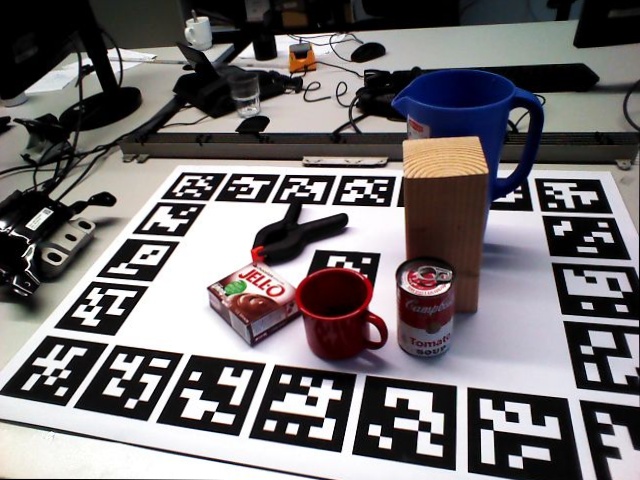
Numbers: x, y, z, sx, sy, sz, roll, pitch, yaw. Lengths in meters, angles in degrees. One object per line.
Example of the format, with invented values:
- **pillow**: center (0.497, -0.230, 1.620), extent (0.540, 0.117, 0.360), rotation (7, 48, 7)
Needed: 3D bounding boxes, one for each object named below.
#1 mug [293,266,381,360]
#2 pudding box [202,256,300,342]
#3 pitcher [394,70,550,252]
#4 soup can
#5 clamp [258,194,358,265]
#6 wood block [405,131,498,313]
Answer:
- **mug**: center (0.027, 0.093, 0.612), extent (0.093, 0.081, 0.117), rotation (-29, 39, -29)
- **pudding box**: center (-0.096, 0.077, 0.701), extent (0.089, 0.039, 0.114), rotation (-32, 41, -24)
- **pitcher**: center (0.203, -0.101, 0.703), extent (0.190, 0.243, 0.132), rotation (0, 35, 17)
- **soup can**: center (0.120, 0.077, 0.595), extent (0.068, 0.102, 0.067), rotation (-6, 38, 5)
- **clamp**: center (-0.035, -0.014, 0.820), extent (0.122, 0.037, 0.164), rotation (30, 51, 32)
- **wood block**: center (0.152, -0.018, 0.627), extent (0.090, 0.207, 0.090), rotation (4, 38, 11)
